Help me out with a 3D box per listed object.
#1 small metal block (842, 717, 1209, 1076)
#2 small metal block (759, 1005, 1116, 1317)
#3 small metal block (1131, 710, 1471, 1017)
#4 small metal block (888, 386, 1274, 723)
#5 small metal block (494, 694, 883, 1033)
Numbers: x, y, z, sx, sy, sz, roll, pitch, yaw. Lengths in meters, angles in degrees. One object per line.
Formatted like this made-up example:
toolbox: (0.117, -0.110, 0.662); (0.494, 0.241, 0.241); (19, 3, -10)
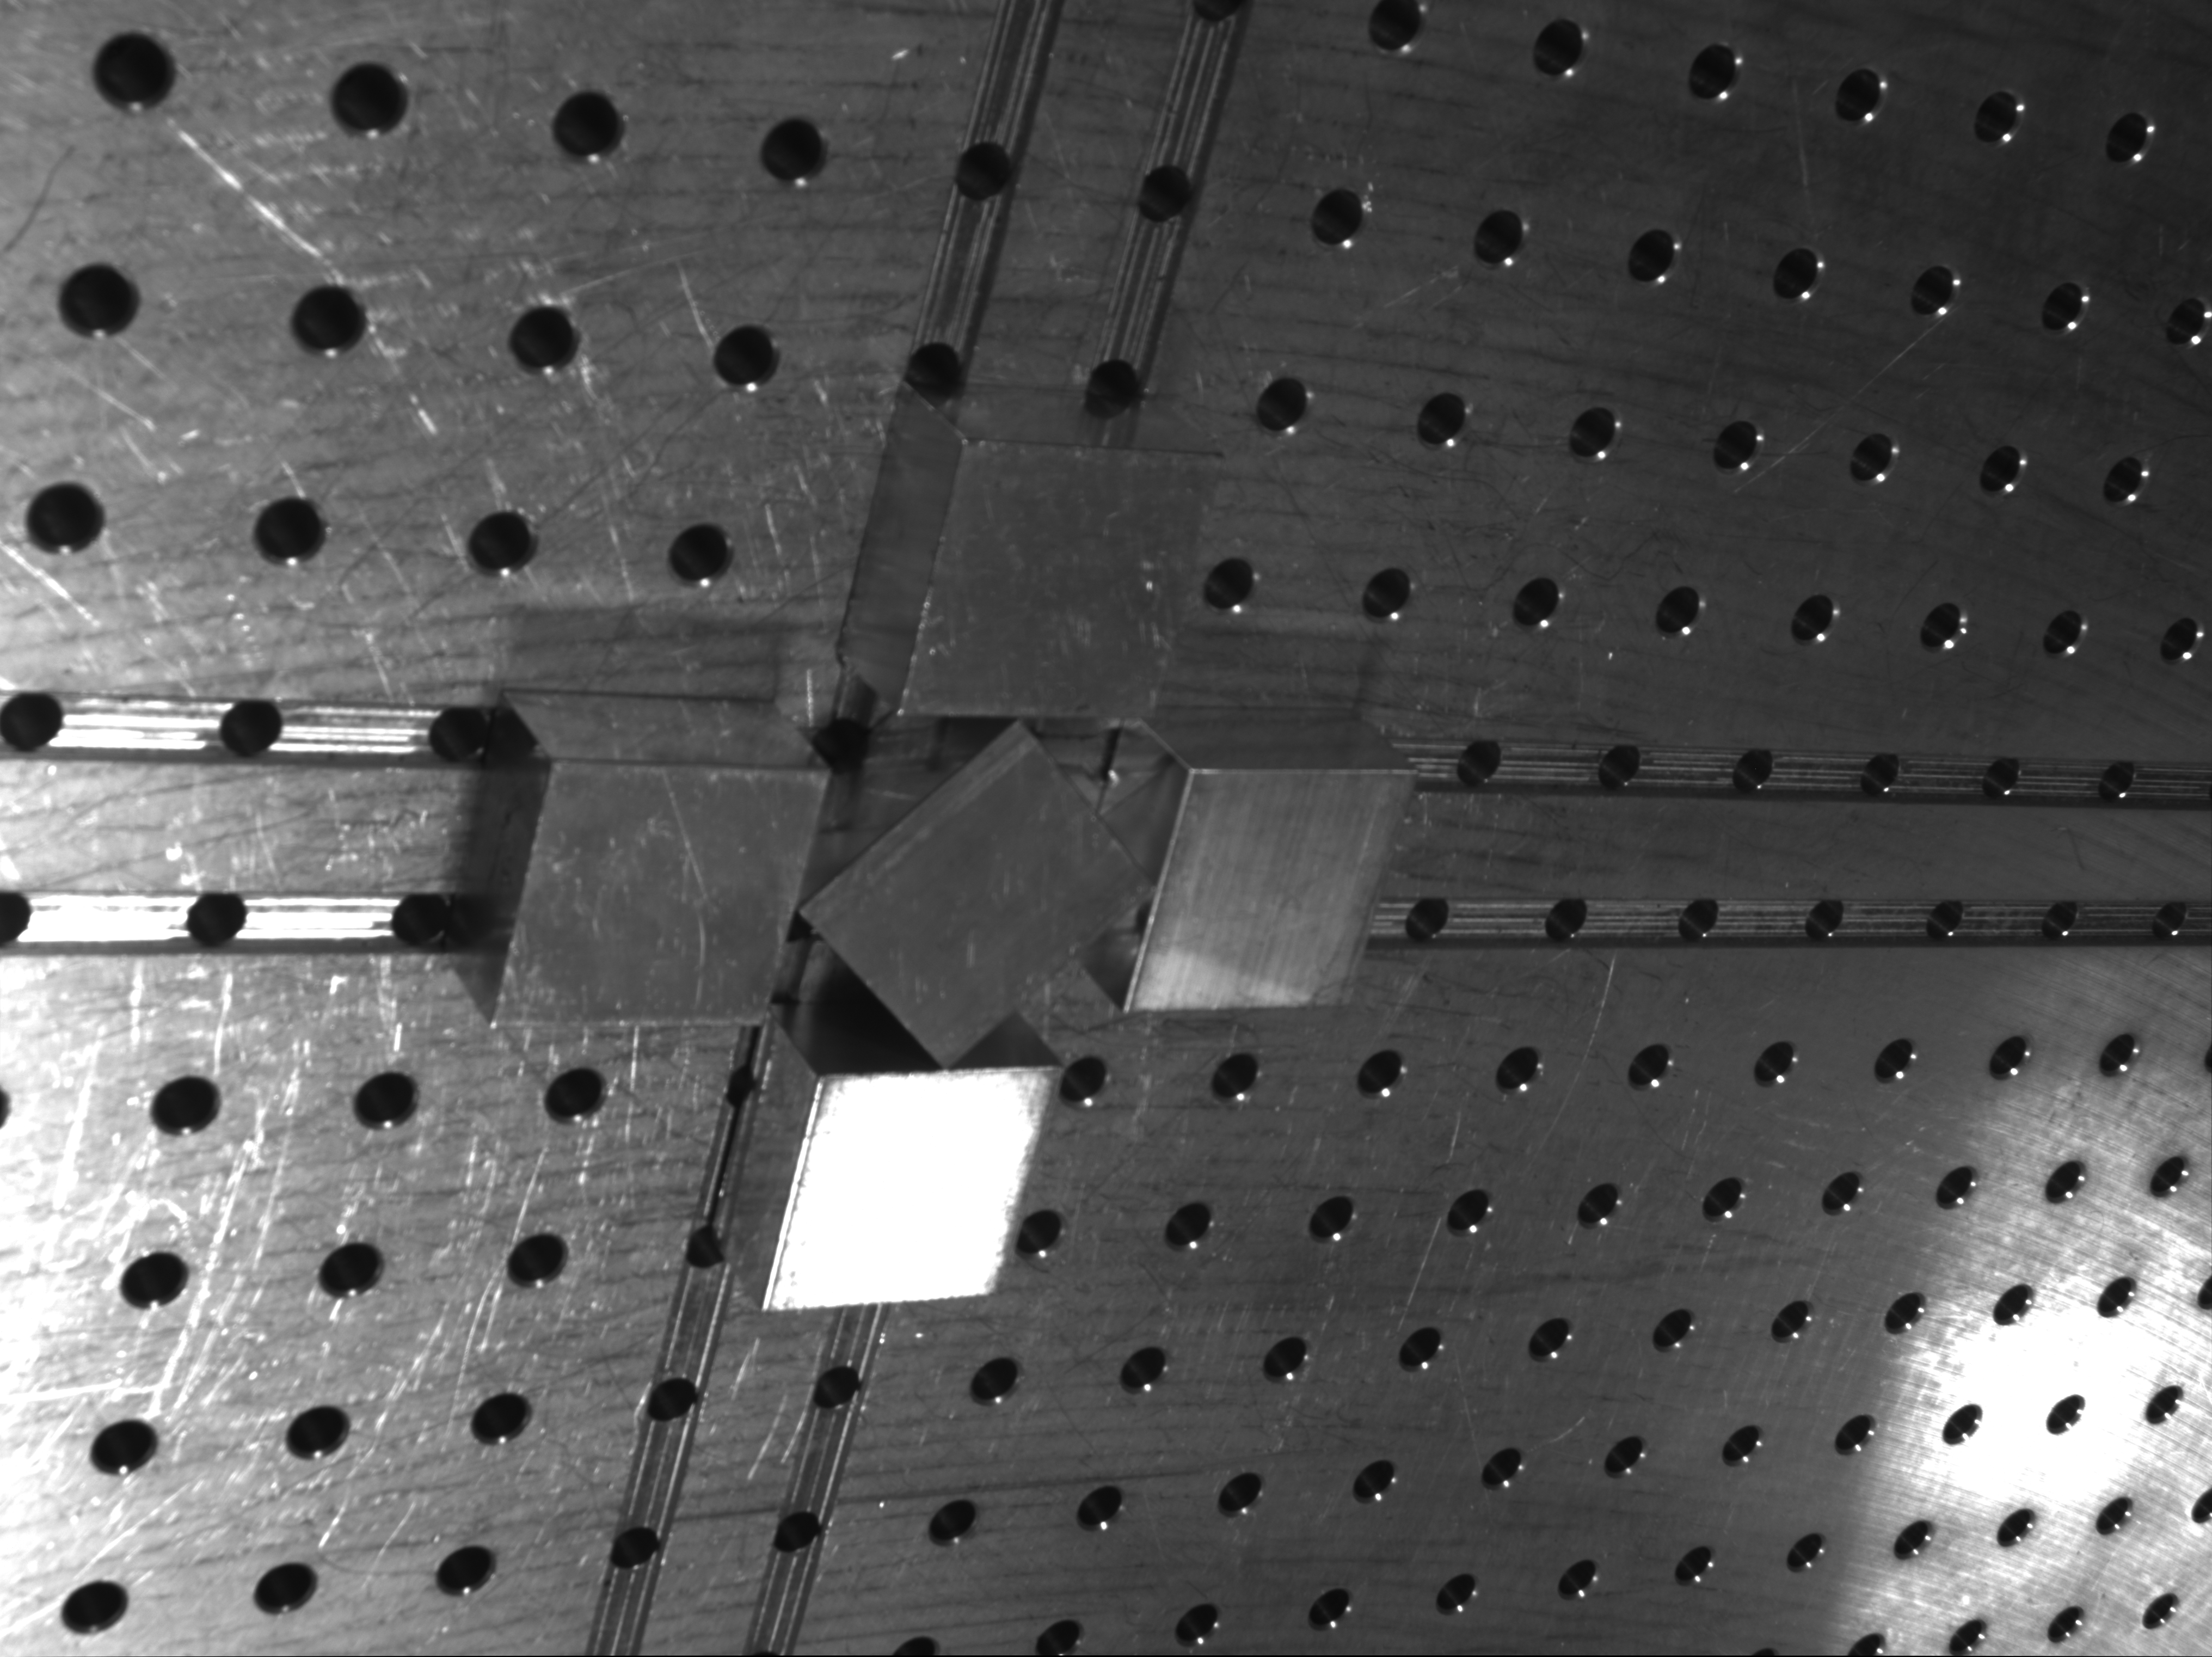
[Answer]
small metal block: (-0.018, 0.007, 0.647); (0.050, 0.025, 0.050); (-41, 130, -2)
small metal block: (-0.031, 0.060, 0.673); (0.050, 0.025, 0.050); (0, 118, -30)
small metal block: (0.034, 0.006, 0.677); (0.050, 0.025, 0.050); (0, 118, -30)
small metal block: (-0.005, -0.046, 0.623); (0.050, 0.025, 0.050); (-1, 118, -30)
small metal block: (-0.071, 0.006, 0.616); (0.050, 0.025, 0.050); (1, 117, -31)
